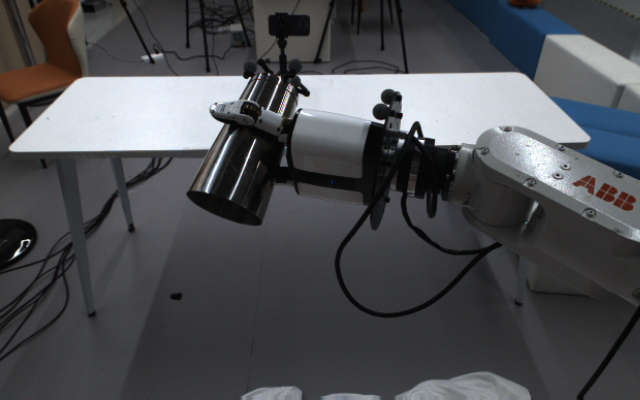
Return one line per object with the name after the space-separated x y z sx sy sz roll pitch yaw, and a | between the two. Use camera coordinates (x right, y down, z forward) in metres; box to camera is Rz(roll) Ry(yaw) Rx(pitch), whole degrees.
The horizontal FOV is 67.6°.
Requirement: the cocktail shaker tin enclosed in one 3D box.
-0.083 -0.065 0.584 0.093 0.093 0.170 13 70 15 | cocktail shaker tin
